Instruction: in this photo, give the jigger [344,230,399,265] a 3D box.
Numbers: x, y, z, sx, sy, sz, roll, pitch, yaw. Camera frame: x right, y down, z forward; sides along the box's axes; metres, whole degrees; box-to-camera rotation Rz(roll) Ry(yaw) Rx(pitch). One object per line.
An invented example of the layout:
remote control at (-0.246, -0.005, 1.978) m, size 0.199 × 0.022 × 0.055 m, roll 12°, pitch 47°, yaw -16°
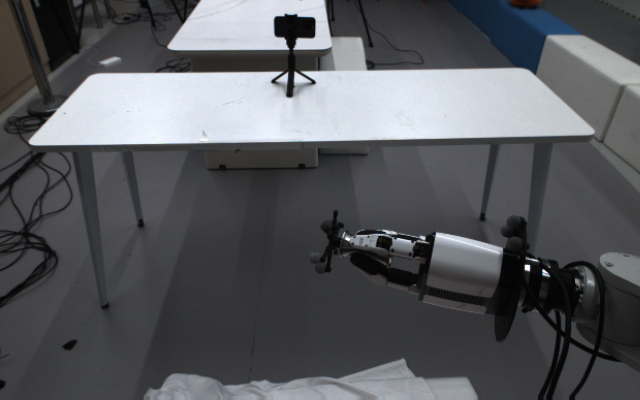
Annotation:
jigger at (0.071, 0.062, 0.659) m, size 0.071 × 0.043 × 0.043 m, roll 9°, pitch 35°, yaw 17°
